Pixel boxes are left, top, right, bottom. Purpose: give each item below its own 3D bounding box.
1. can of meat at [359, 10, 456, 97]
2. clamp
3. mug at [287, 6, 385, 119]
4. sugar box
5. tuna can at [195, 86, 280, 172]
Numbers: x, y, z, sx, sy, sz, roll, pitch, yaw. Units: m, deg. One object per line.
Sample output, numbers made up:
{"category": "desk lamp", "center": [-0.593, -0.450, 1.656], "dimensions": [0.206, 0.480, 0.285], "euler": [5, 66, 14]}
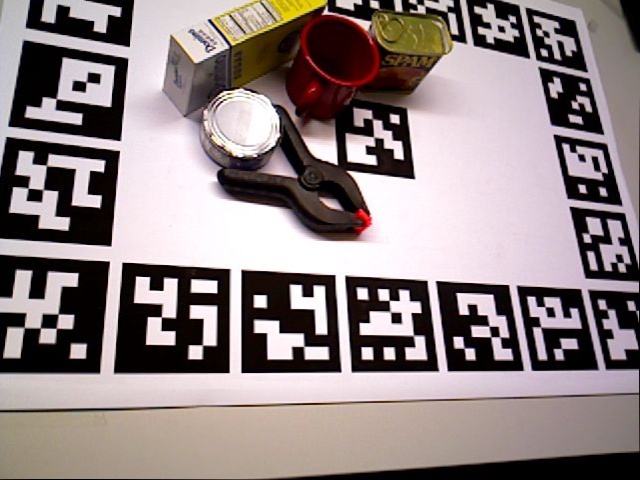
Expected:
{"category": "can of meat", "center": [0.096, -0.219, 0.651], "dimensions": [0.100, 0.085, 0.057], "euler": [-3, 71, -24]}
{"category": "clamp", "center": [-0.014, -0.053, 0.579], "dimensions": [0.165, 0.037, 0.119], "euler": [40, 59, -9]}
{"category": "mug", "center": [0.008, -0.182, 0.596], "dimensions": [0.093, 0.083, 0.115], "euler": [29, 66, -10]}
{"category": "sugar box", "center": [-0.079, -0.203, 0.573], "dimensions": [0.173, 0.095, 0.045], "euler": [-36, 85, -29]}
{"category": "tuna can", "center": [-0.087, -0.113, 0.566], "dimensions": [0.085, 0.034, 0.085], "euler": [6, 72, -19]}
